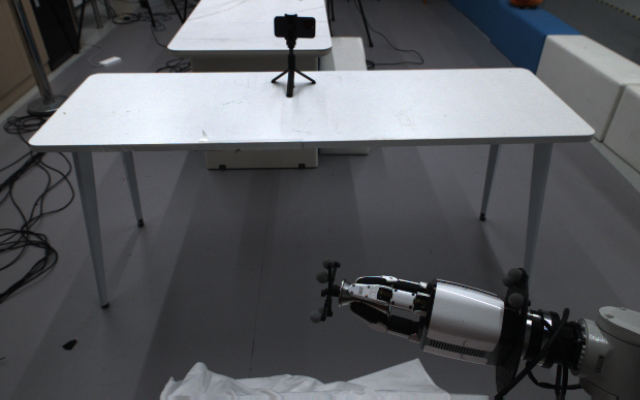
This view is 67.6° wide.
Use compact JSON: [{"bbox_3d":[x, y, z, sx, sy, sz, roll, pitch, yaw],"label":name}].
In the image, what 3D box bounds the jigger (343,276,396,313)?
[{"bbox_3d":[0.069,0.127,0.654,0.071,0.043,0.043,7,35,14],"label":"jigger"}]
